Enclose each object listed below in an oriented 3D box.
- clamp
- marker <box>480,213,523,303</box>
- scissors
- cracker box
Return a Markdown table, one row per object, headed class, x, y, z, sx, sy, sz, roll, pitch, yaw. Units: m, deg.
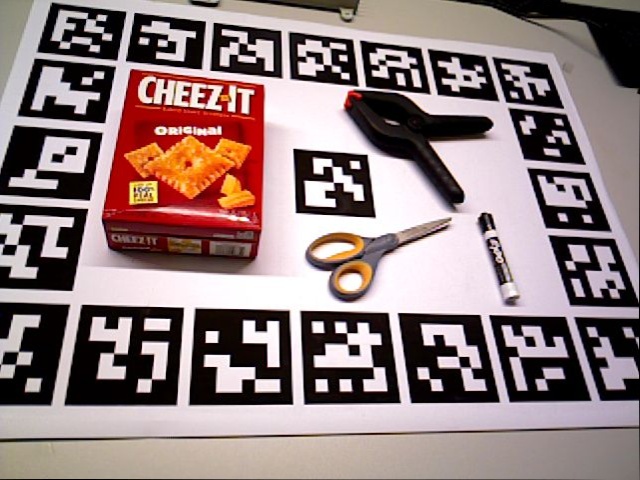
| class | x | y | z | sx | sy | sz | roll | pitch | yaw |
| --- | --- | --- | --- | --- | --- | --- | --- | --- | --- |
| clamp | 0.116 | -0.147 | 0.747 | 0.202 | 0.037 | 0.162 | 29 | 56 | 5 |
| marker | 0.220 | 0.019 | 0.663 | 0.019 | 0.020 | 0.119 | -1 | 59 | -13 |
| scissors | 0.081 | 0.008 | 0.641 | 0.199 | 0.016 | 0.087 | -24 | 66 | -26 |
| cracker box | -0.146 | -0.086 | 0.619 | 0.163 | 0.073 | 0.211 | 4 | 59 | -10 |
